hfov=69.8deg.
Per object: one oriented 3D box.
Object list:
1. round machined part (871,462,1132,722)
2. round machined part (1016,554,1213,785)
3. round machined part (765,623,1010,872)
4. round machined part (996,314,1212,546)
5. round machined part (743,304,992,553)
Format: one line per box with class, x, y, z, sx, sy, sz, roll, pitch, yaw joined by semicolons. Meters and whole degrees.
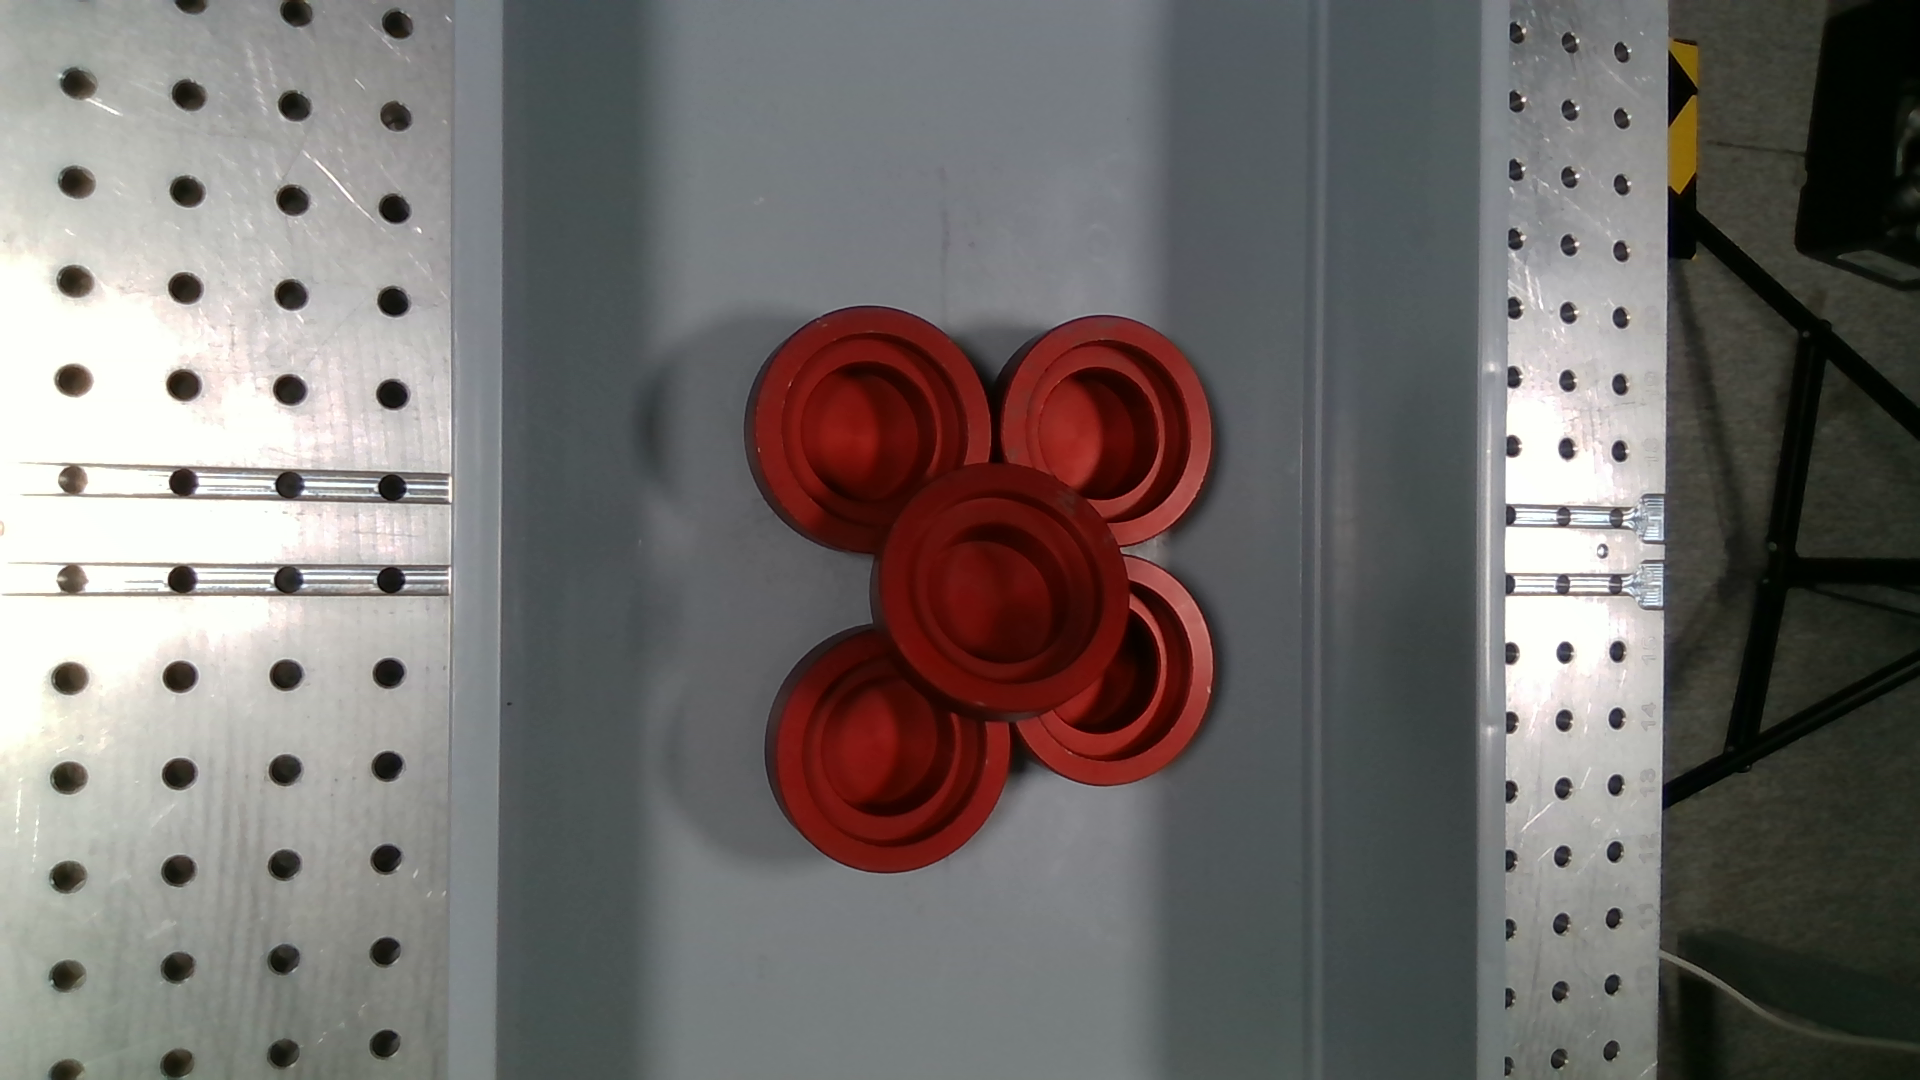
round machined part;0.013;0.022;0.535;0.098;0.042;0.098;5;71;-14
round machined part;0.057;0.054;0.597;0.098;0.042;0.098;0;90;-20
round machined part;-0.032;0.082;0.564;0.098;0.042;0.098;0;90;-20
round machined part;0.056;-0.046;0.596;0.098;0.042;0.098;0;90;-20
round machined part;-0.040;-0.044;0.561;0.098;0.042;0.098;0;90;-20
